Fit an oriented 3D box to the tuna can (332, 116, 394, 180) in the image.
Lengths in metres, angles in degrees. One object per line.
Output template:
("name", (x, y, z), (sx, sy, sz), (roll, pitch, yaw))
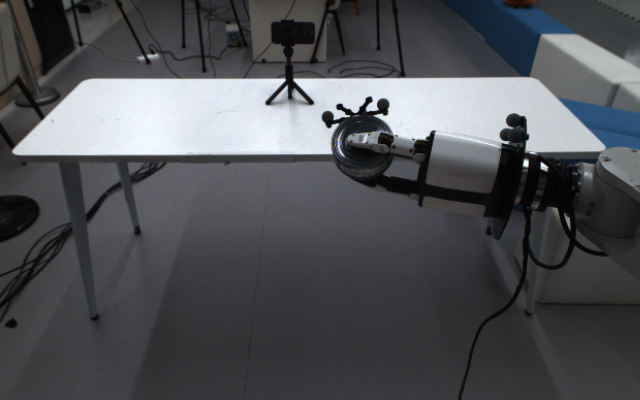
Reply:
("tuna can", (0.063, -0.068, 0.658), (0.085, 0.034, 0.085), (-4, 68, 9))
